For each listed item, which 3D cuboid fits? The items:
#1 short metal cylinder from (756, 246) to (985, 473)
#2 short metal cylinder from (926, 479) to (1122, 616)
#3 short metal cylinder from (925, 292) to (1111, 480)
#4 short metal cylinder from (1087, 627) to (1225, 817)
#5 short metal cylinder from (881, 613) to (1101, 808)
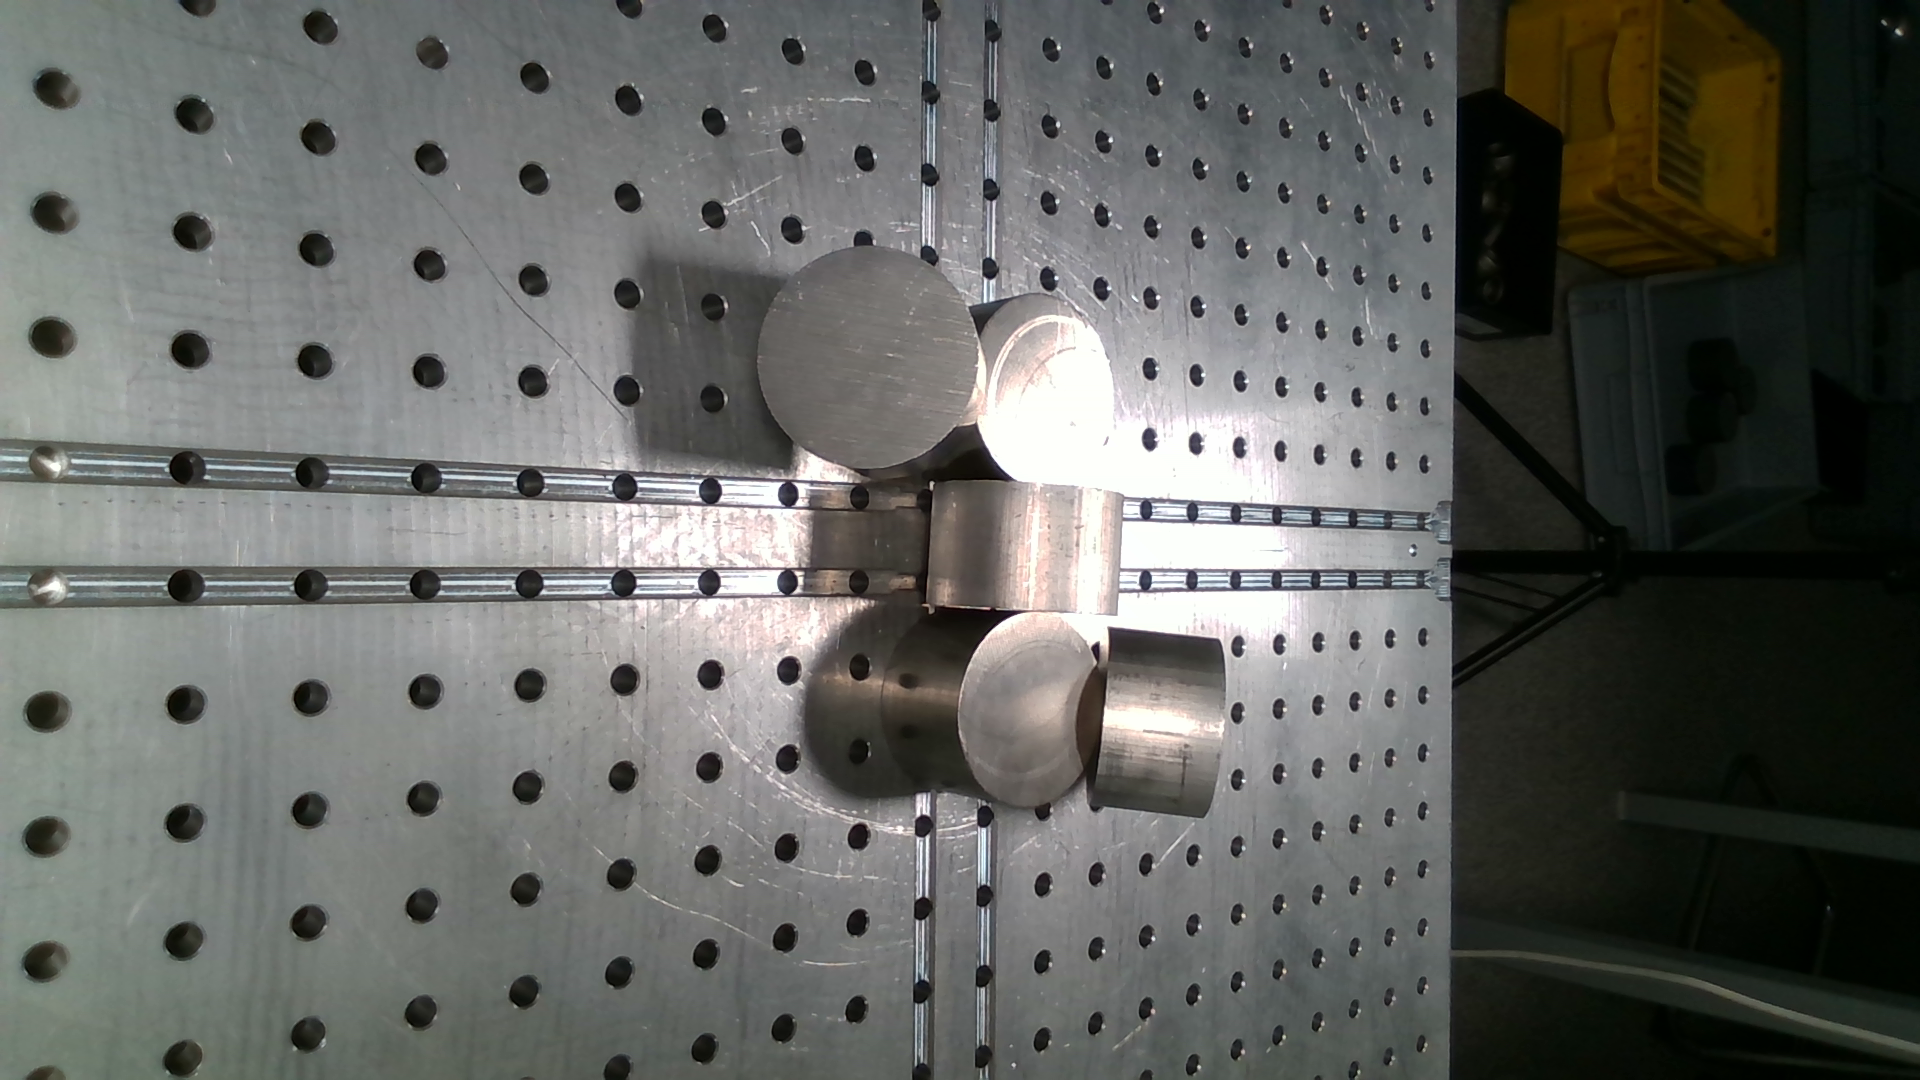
[{"bbox_3d":[-0.032,-0.065,0.516,0.080,0.050,0.080,0,89,4],"label":"short metal cylinder"},{"bbox_3d":[0.027,0.004,0.573,0.080,0.080,0.050,6,86,-40],"label":"short metal cylinder"},{"bbox_3d":[0.018,-0.061,0.584,0.080,0.050,0.080,0,90,-40],"label":"short metal cylinder"},{"bbox_3d":[0.086,0.081,0.614,0.050,0.080,0.080,6,85,2],"label":"short metal cylinder"},{"bbox_3d":[0.014,0.069,0.581,0.080,0.050,0.080,0,90,-40],"label":"short metal cylinder"}]
